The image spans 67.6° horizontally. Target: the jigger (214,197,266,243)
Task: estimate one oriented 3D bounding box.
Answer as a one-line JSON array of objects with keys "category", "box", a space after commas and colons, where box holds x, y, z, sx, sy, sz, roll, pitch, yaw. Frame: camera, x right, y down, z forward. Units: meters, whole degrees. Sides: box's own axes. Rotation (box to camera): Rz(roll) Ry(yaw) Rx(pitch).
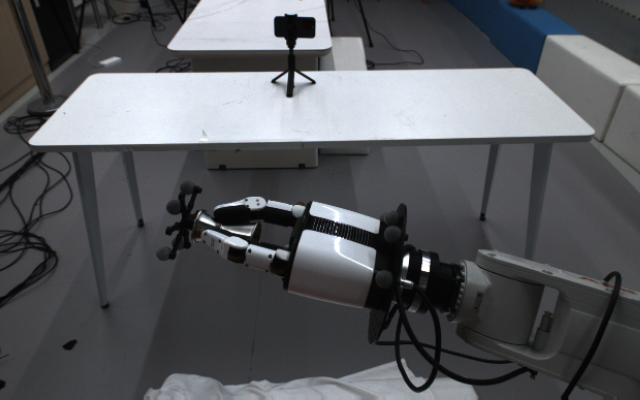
[{"category": "jigger", "box": [-0.099, 0.036, 0.550, 0.071, 0.043, 0.043, 14, 36, 5]}]
